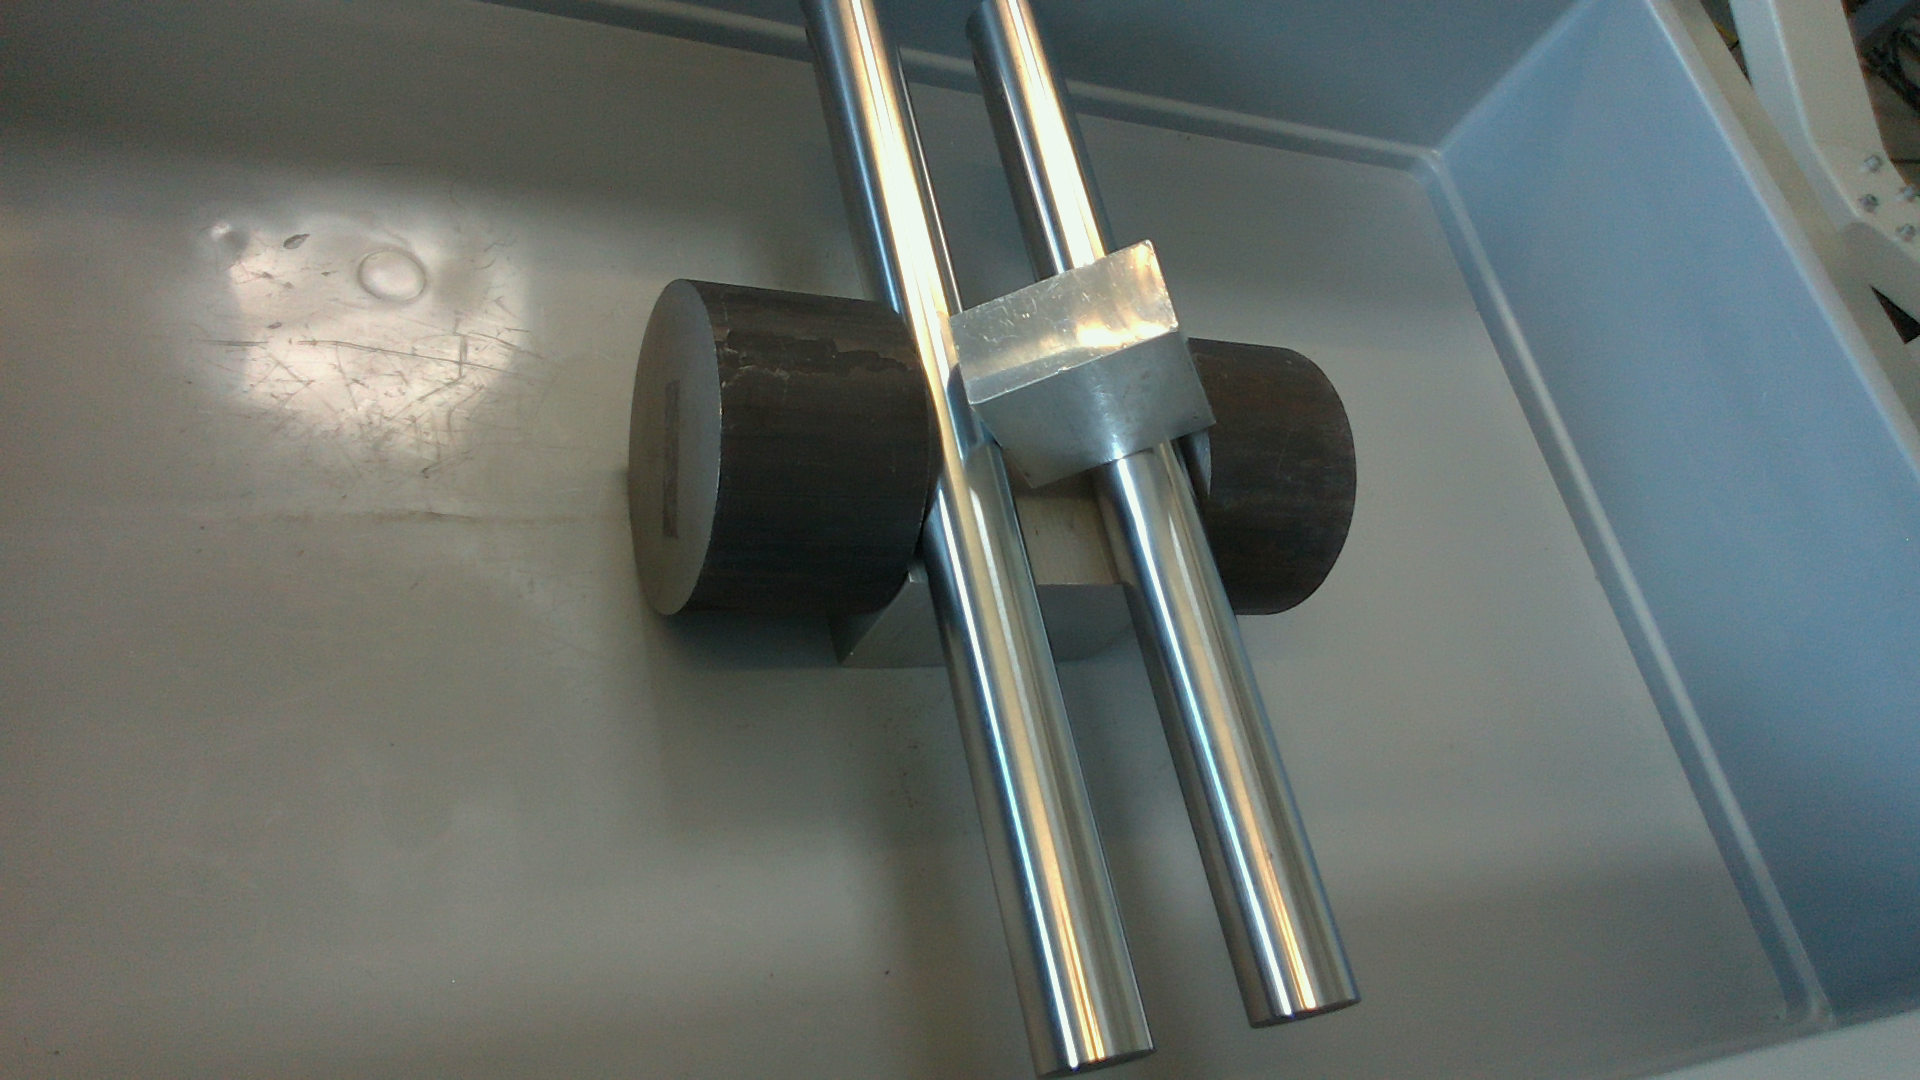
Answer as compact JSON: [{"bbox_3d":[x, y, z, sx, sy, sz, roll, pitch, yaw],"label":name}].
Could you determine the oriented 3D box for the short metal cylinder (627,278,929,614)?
[{"bbox_3d":[-0.048,-0.022,0.341,0.050,0.080,0.080,2,61,-28],"label":"short metal cylinder"}]

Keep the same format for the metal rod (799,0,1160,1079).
[{"bbox_3d":[-0.003,-0.027,0.339,0.025,0.025,0.300,1,61,-28],"label":"metal rod"}]

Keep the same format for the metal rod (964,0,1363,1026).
[{"bbox_3d":[0.045,-0.028,0.366,0.025,0.025,0.300,1,61,-28],"label":"metal rod"}]

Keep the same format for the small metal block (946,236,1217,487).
[{"bbox_3d":[0.031,-0.041,0.333,0.050,0.050,0.025,-19,64,12],"label":"small metal block"}]

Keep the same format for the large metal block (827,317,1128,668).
[{"bbox_3d":[0.004,-0.013,0.382,0.080,0.050,0.080,1,61,-28],"label":"large metal block"}]

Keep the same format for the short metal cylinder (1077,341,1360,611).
[{"bbox_3d":[0.069,-0.018,0.401,0.050,0.080,0.080,0,61,-27],"label":"short metal cylinder"}]
